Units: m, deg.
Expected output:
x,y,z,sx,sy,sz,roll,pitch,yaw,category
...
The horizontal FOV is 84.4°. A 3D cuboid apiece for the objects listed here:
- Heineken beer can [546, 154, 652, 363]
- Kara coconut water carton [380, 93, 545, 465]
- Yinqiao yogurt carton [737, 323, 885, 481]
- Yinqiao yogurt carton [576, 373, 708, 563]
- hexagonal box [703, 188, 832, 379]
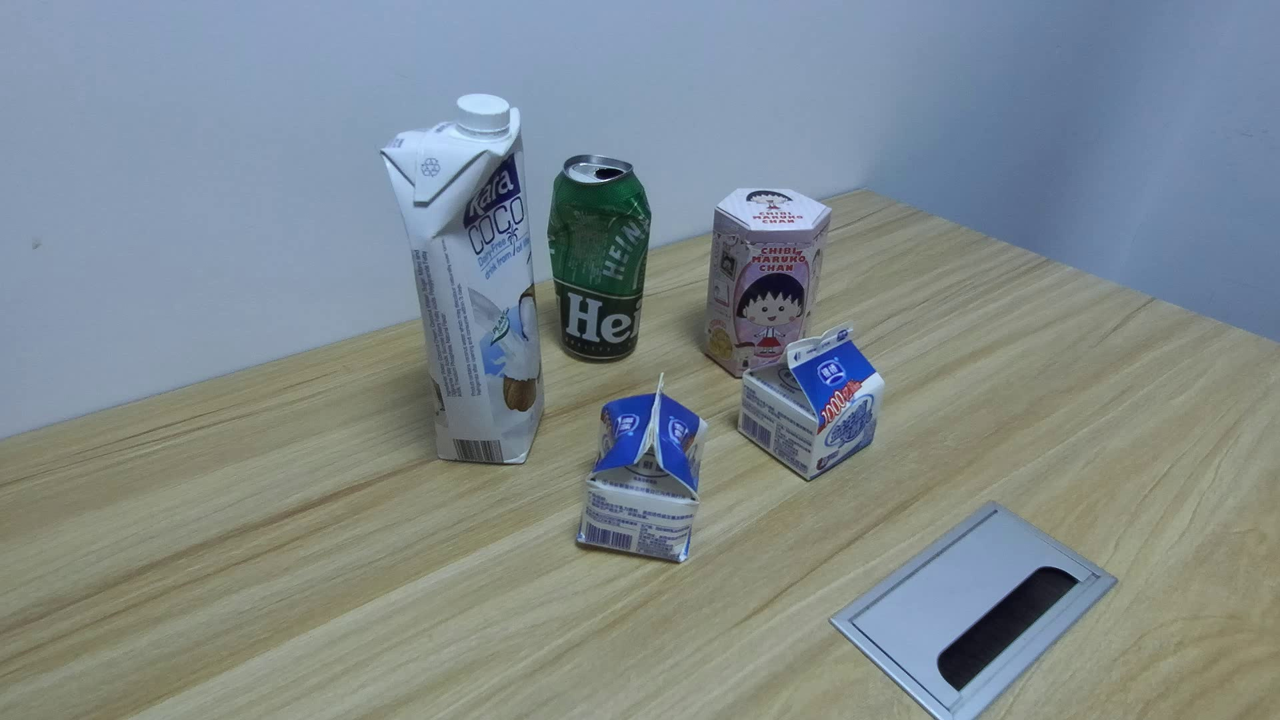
x,y,z,sx,sy,sz,roll,pitch,yaw,category
-0.034,-0.080,0.576,0.066,0.164,0.077,-12,38,-18,Heineken beer can
-0.105,-0.044,0.456,0.069,0.238,0.115,5,33,4,Kara coconut water carton
0.122,0.019,0.496,0.076,0.092,0.073,-21,38,-32,Yinqiao yogurt carton
0.004,0.062,0.428,0.071,0.094,0.077,9,35,4,Yinqiao yogurt carton
0.101,-0.060,0.573,0.091,0.136,0.083,-1,34,-3,hexagonal box
